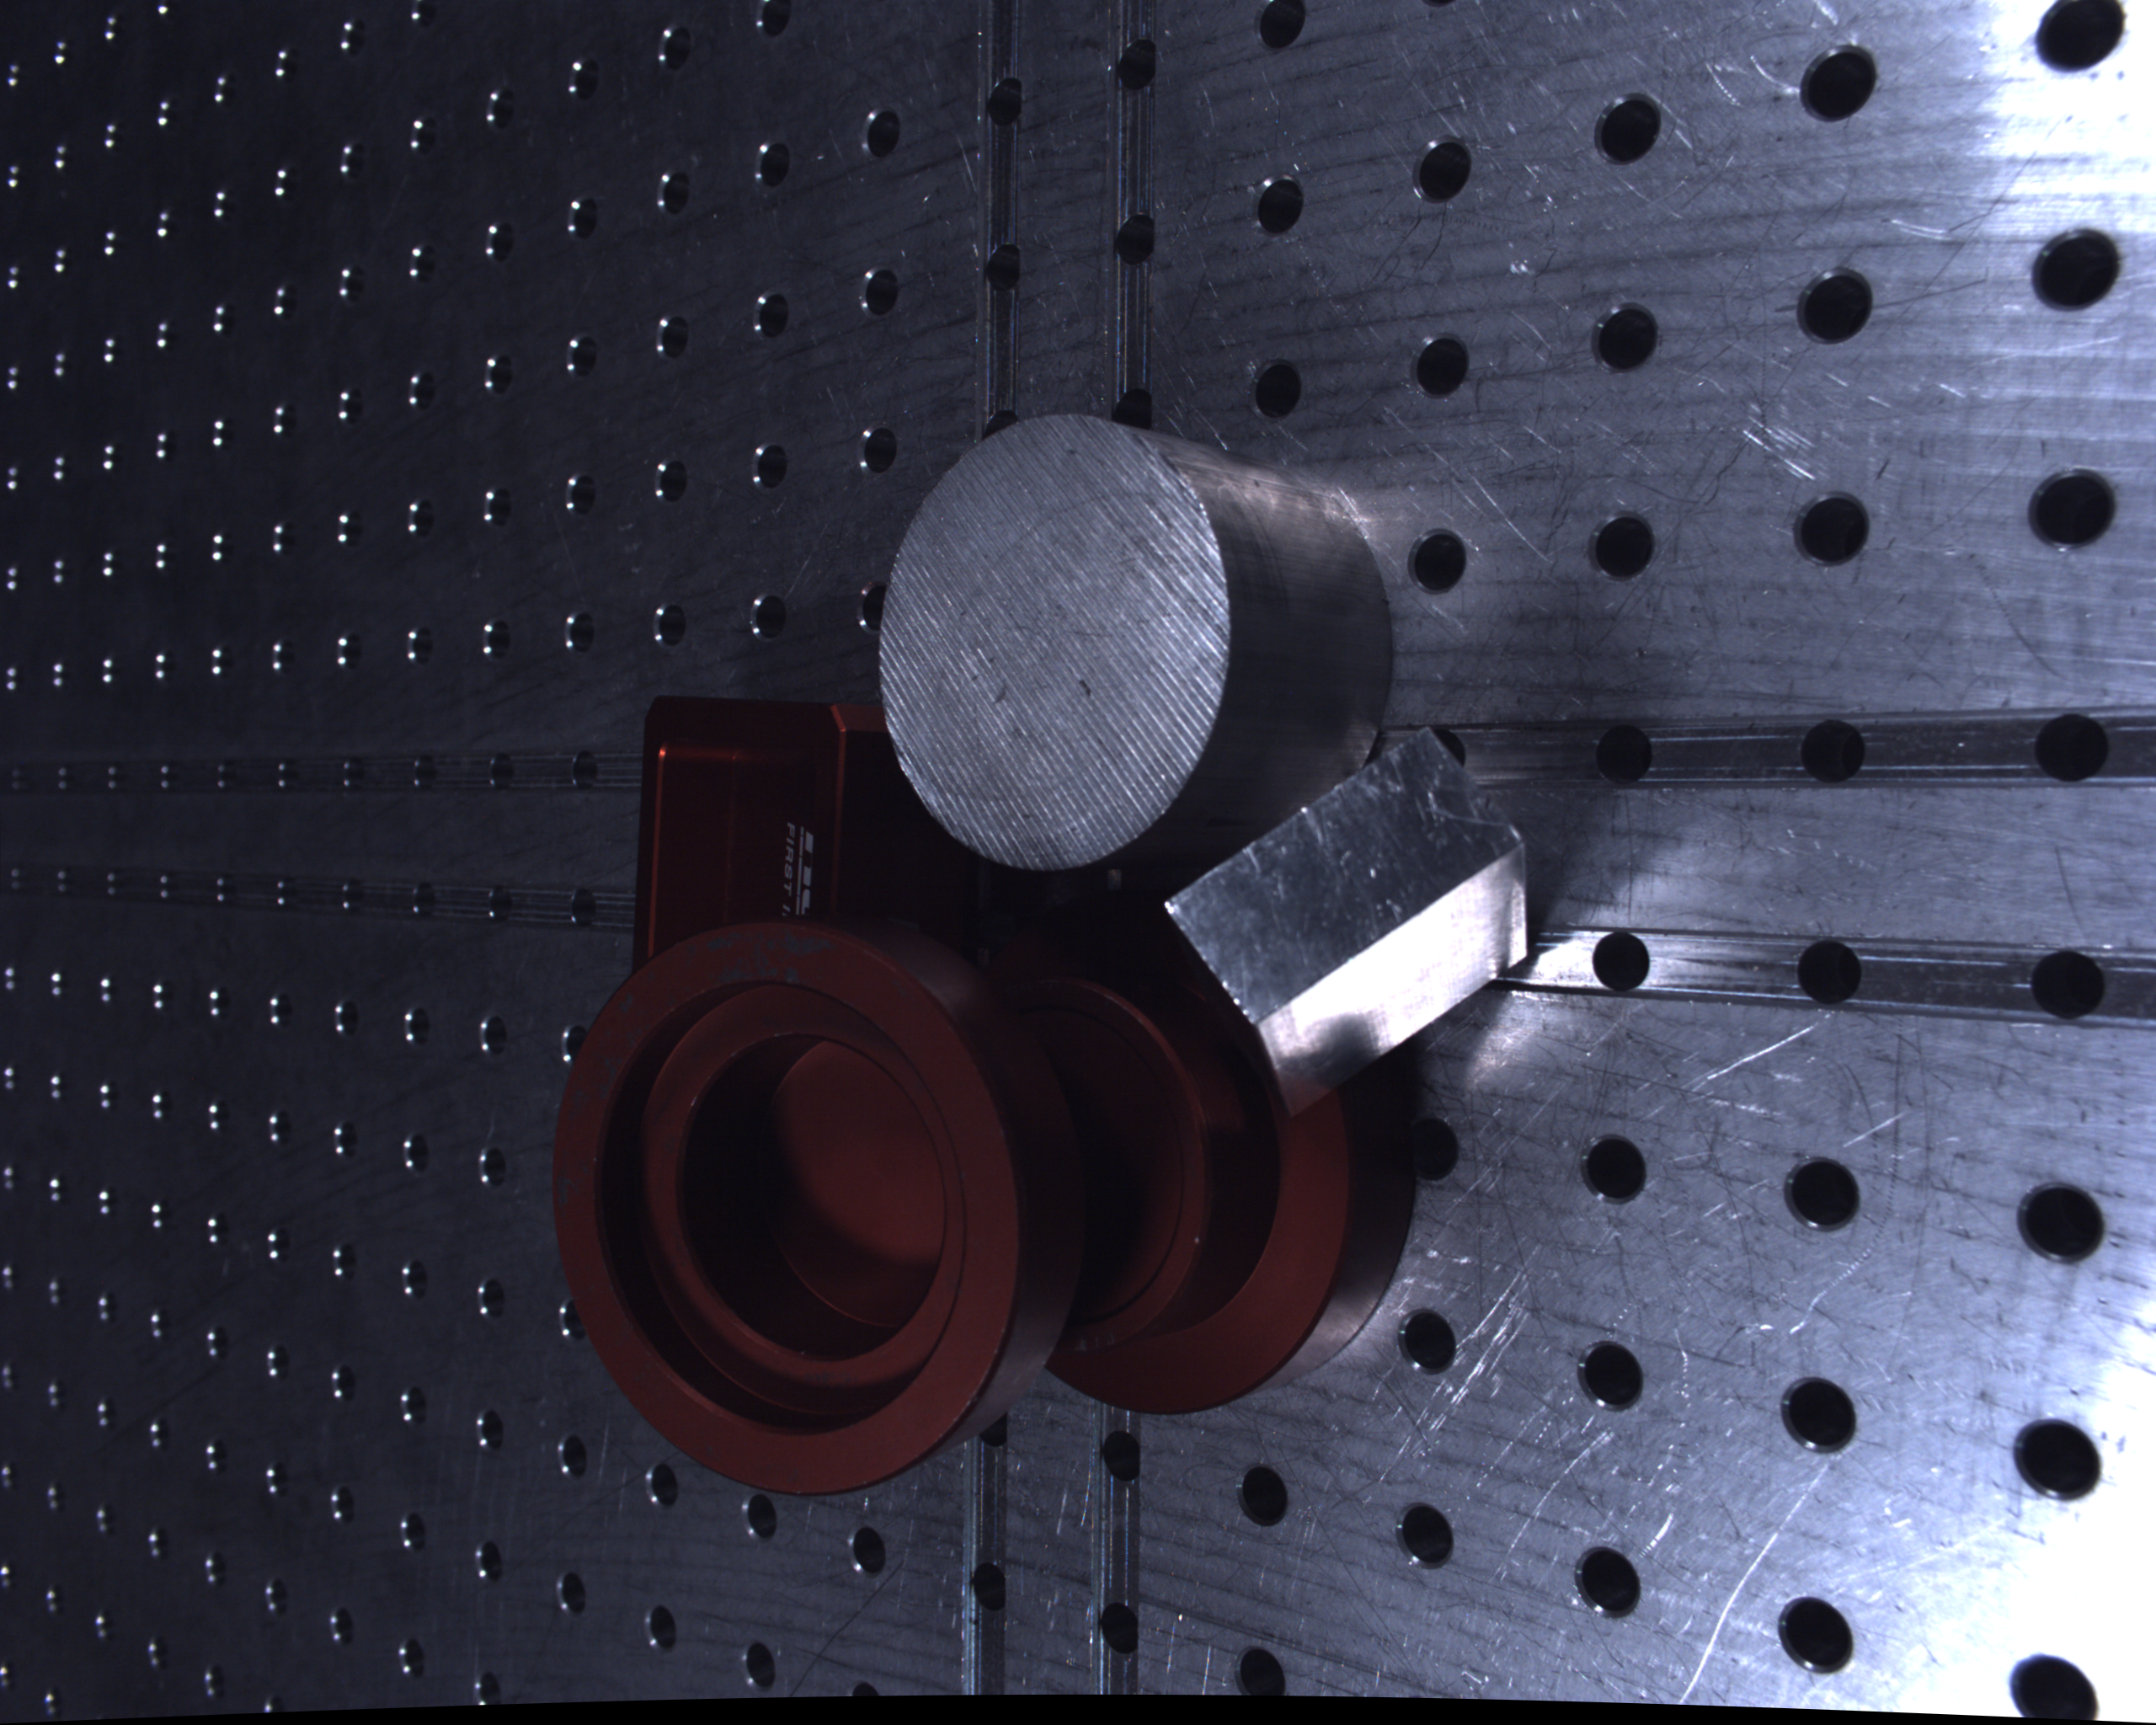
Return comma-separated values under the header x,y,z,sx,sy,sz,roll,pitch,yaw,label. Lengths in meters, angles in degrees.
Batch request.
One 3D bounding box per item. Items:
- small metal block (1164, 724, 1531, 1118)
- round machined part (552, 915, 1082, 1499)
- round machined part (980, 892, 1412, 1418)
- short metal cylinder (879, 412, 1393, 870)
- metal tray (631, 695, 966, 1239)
x,y,z,sx,sy,sz,roll,pitch,yaw,label
0.046,0.011,0.341,0.050,0.050,0.025,-34,64,-4,small metal block
-0.042,0.058,0.368,0.098,0.042,0.097,1,92,29,round machined part
0.009,0.054,0.388,0.098,0.042,0.097,0,90,39,round machined part
0.010,-0.039,0.383,0.080,0.050,0.079,0,90,39,short metal cylinder
-0.063,0.031,0.441,0.090,0.030,0.129,8,95,54,metal tray
